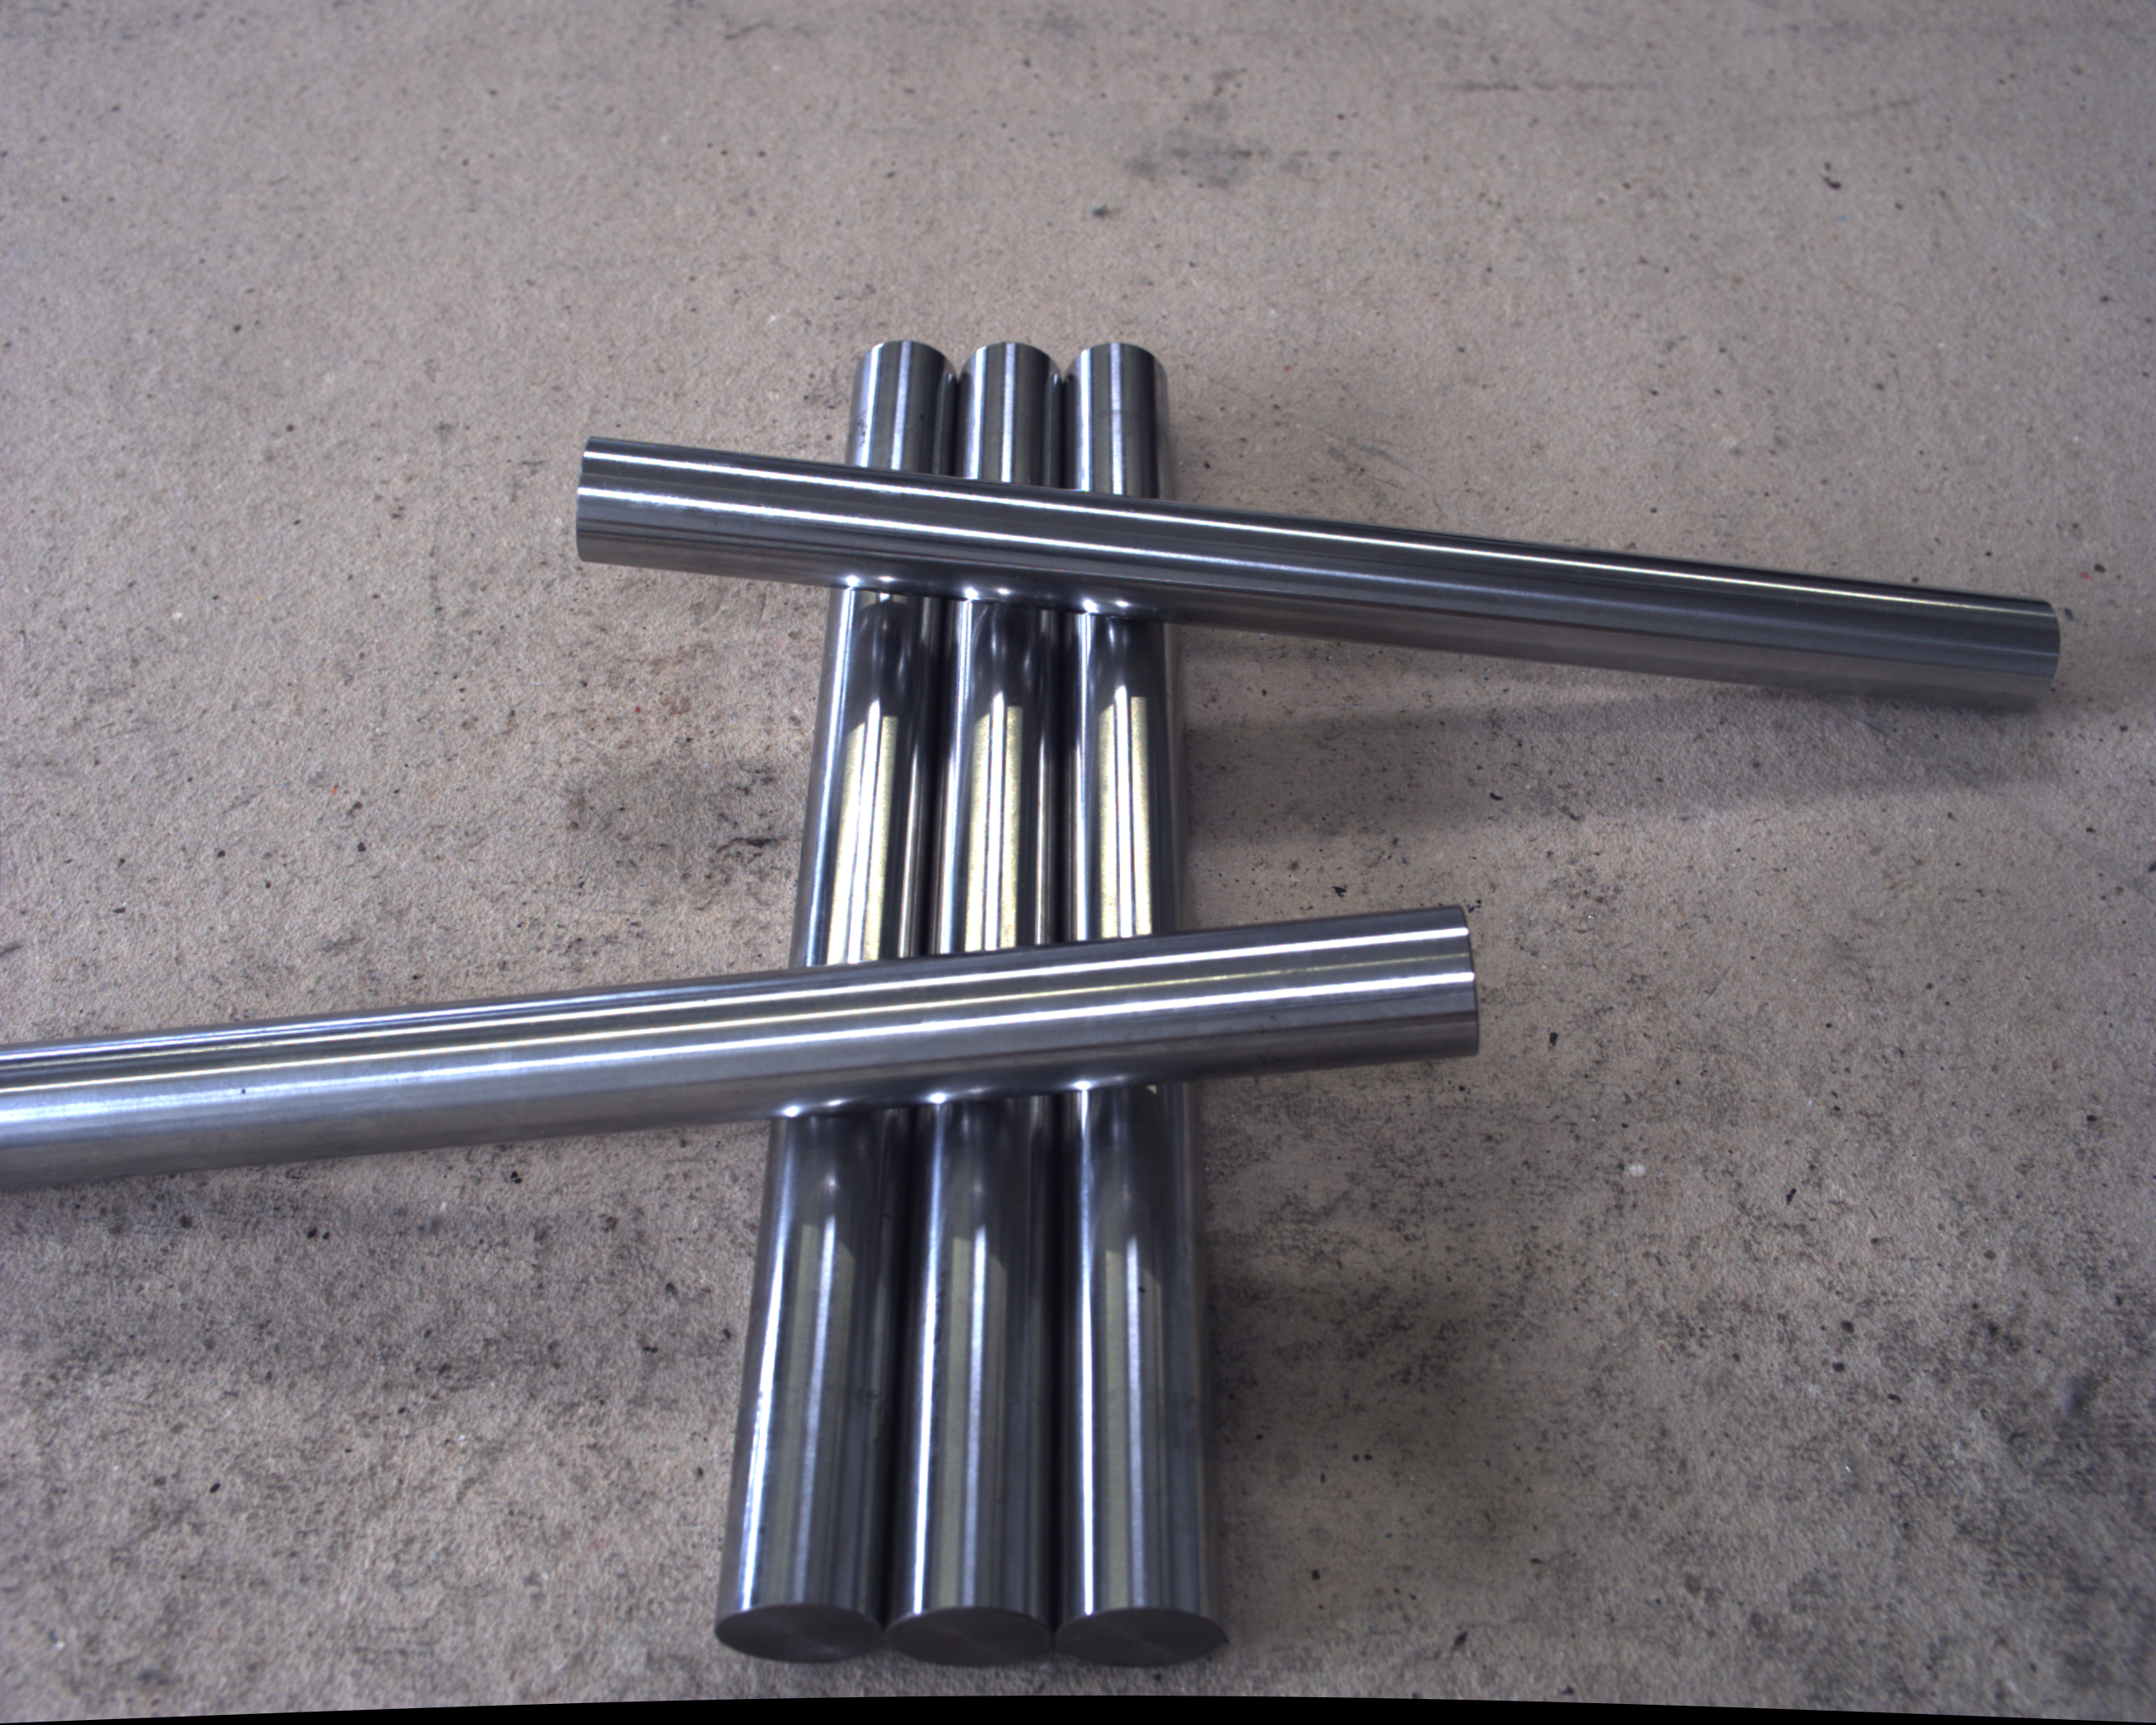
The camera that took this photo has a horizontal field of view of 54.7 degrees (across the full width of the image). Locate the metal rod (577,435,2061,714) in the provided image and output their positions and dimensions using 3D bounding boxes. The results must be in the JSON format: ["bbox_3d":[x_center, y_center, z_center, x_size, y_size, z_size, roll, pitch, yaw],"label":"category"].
[{"bbox_3d":[0.052,-0.058,0.429,0.302,0.025,0.025,5,50,-6],"label":"metal rod"}]

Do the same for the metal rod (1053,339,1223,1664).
[{"bbox_3d":[0.009,-0.001,0.404,0.025,0.025,0.300,0,50,0],"label":"metal rod"}]

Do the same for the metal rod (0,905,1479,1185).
[{"bbox_3d":[-0.086,0.034,0.351,0.302,0.025,0.025,-5,50,4],"label":"metal rod"}]

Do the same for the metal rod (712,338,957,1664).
[{"bbox_3d":[-0.041,-0.001,0.404,0.025,0.025,0.300,0,50,0],"label":"metal rod"}]

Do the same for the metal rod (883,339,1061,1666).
[{"bbox_3d":[-0.016,0.000,0.404,0.025,0.025,0.300,0,50,0],"label":"metal rod"}]
